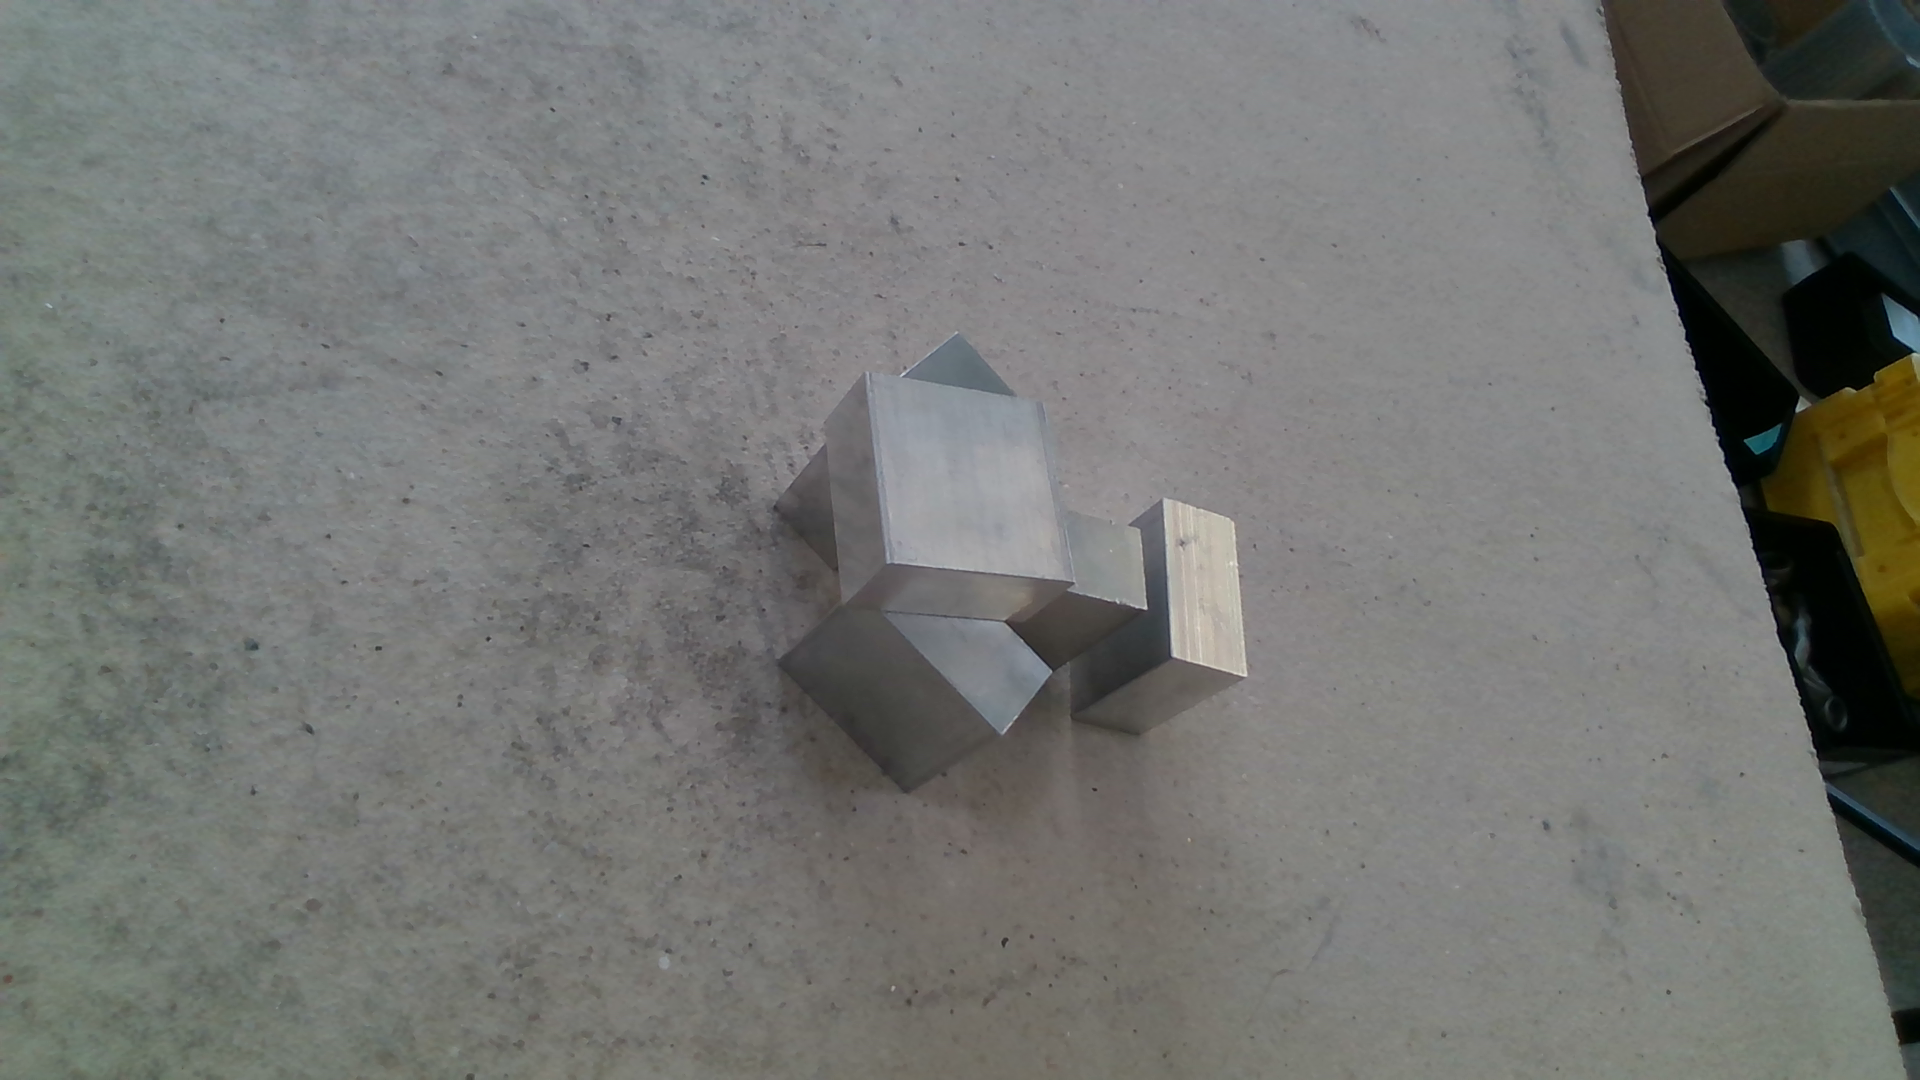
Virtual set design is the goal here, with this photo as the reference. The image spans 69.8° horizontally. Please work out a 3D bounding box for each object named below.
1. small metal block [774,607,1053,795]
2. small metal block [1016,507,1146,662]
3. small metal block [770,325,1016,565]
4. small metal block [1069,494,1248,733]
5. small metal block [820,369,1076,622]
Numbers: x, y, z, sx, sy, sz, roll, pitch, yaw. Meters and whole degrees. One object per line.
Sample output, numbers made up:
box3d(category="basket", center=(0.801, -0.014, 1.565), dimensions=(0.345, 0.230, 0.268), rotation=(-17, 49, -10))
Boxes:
box3d(category="small metal block", center=(-0.013, 0.032, 0.352), dimensions=(0.050, 0.050, 0.025), rotation=(45, 51, -3))
box3d(category="small metal block", center=(0.015, 0.012, 0.381), dimensions=(0.050, 0.050, 0.025), rotation=(14, 59, -26))
box3d(category="small metal block", center=(-0.018, -0.026, 0.379), dimensions=(0.025, 0.050, 0.050), rotation=(48, 52, -2))
box3d(category="small metal block", center=(0.056, 0.022, 0.399), dimensions=(0.025, 0.050, 0.050), rotation=(16, 58, -24))
box3d(category="small metal block", center=(-0.004, -0.010, 0.332), dimensions=(0.050, 0.025, 0.050), rotation=(7, 62, -29))
